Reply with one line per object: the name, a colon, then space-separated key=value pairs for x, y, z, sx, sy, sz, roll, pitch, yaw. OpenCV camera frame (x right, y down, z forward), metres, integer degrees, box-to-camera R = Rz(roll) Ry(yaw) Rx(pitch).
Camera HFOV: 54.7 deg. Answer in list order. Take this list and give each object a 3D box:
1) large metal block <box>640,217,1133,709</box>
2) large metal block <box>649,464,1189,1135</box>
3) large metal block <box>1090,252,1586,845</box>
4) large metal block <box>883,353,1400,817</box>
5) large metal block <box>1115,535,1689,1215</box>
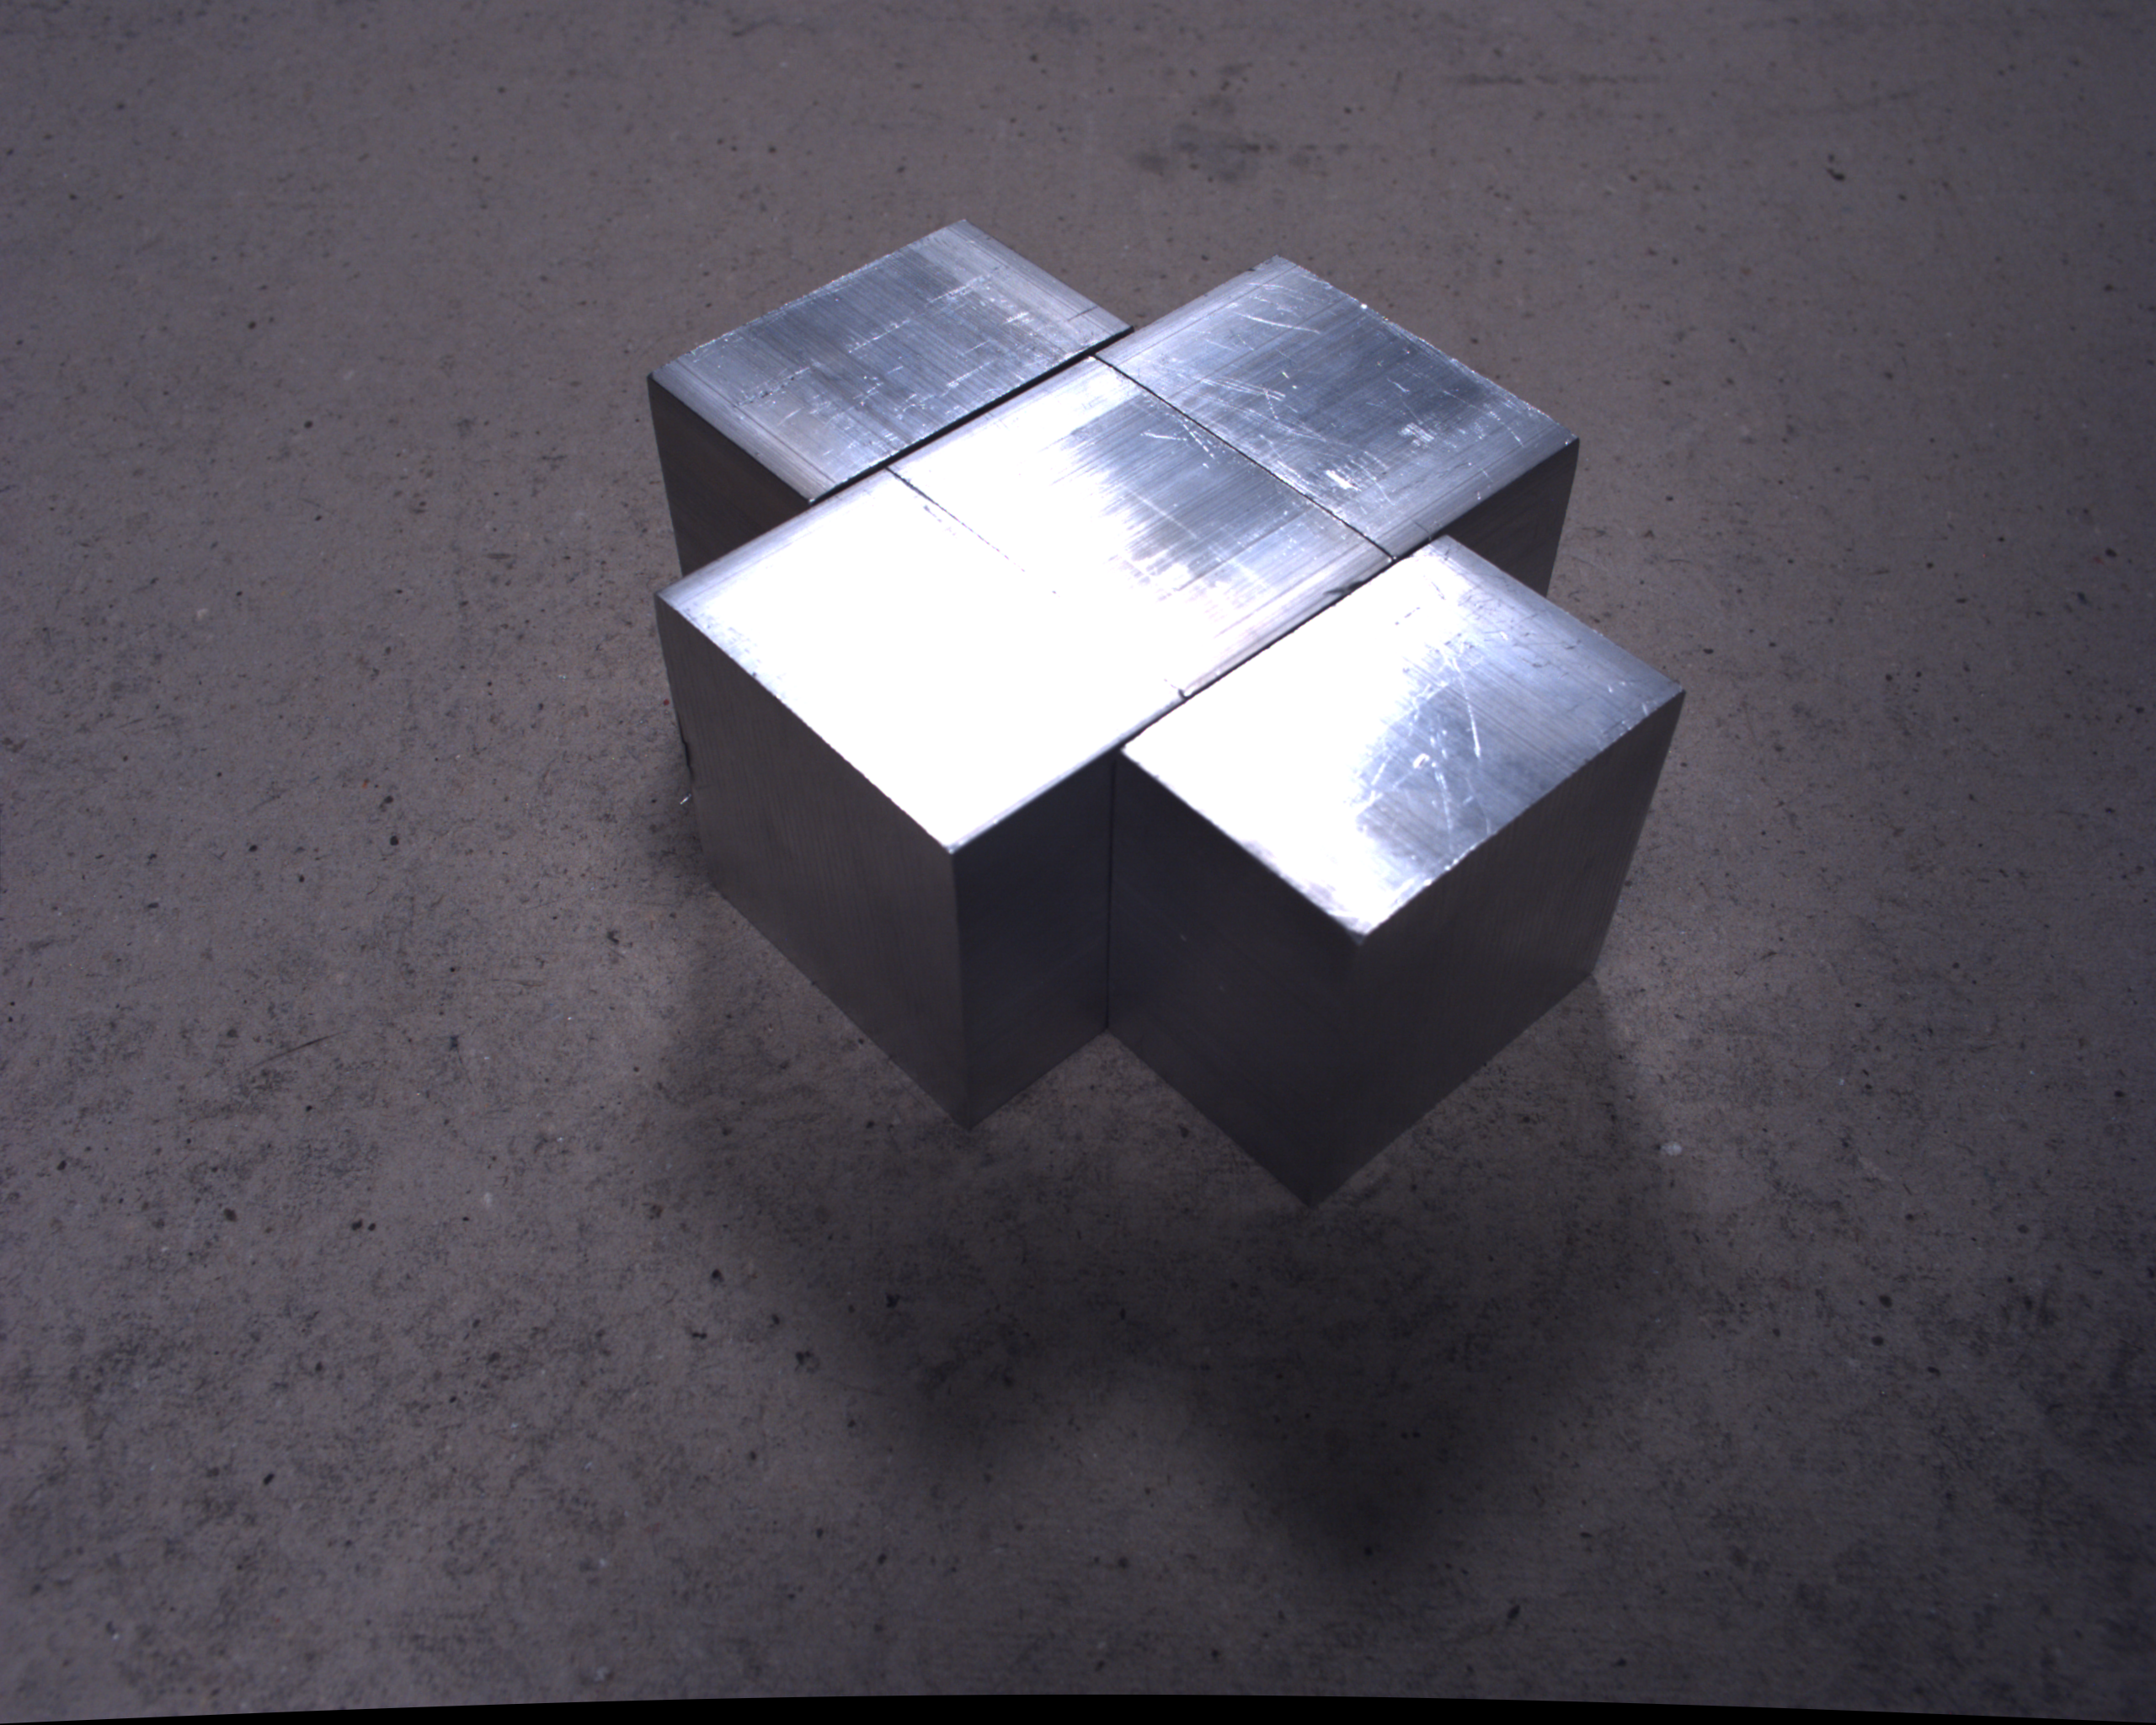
large metal block: x=-0.036 y=-0.073 z=0.430 sx=0.080 sy=0.080 sz=0.050 roll=-35 pitch=59 yaw=-26
large metal block: x=-0.028 y=-0.011 z=0.379 sx=0.050 sy=0.080 sz=0.080 roll=-35 pitch=59 yaw=-26
large metal block: x=0.048 y=-0.063 z=0.423 sx=0.050 sy=0.080 sz=0.080 roll=-35 pitch=59 yaw=-26
large metal block: x=0.010 y=-0.037 z=0.401 sx=0.050 sy=0.080 sz=0.080 roll=-35 pitch=59 yaw=-26
large metal block: x=0.054 y=0.002 z=0.368 sx=0.080 sy=0.080 sz=0.050 roll=-35 pitch=59 yaw=-26
